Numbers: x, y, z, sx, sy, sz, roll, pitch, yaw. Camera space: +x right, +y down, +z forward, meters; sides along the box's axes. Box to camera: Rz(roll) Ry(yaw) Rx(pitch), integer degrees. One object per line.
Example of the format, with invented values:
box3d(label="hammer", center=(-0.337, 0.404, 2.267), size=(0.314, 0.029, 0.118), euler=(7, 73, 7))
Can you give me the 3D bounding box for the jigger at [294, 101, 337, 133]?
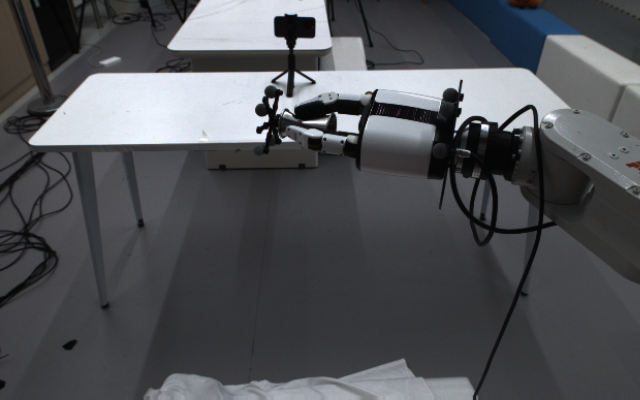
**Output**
box3d(label="jigger", center=(-0.011, -0.100, 0.641), size=(0.071, 0.043, 0.043), euler=(11, 36, 15))
